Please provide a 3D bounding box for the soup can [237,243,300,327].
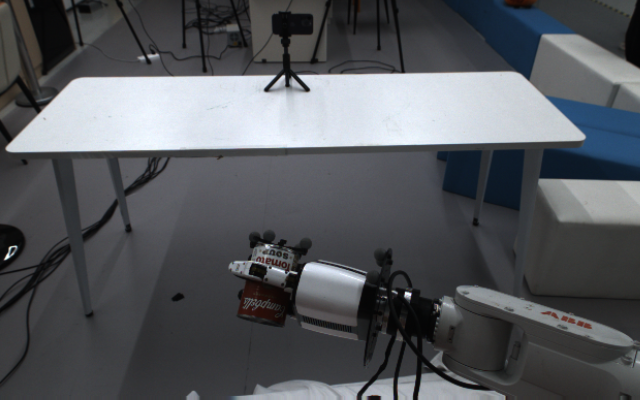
[{"bbox_3d":[-0.070,0.119,0.670,0.067,0.067,0.101,9,71,9],"label":"soup can"}]
